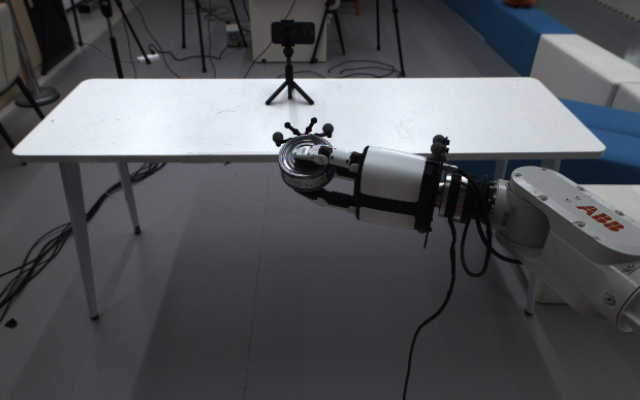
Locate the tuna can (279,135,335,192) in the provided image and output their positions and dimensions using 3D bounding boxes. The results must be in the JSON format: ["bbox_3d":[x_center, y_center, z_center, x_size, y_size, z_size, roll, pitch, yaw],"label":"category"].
[{"bbox_3d":[-0.015,-0.051,0.723,0.085,0.034,0.085,-3,58,5],"label":"tuna can"}]
